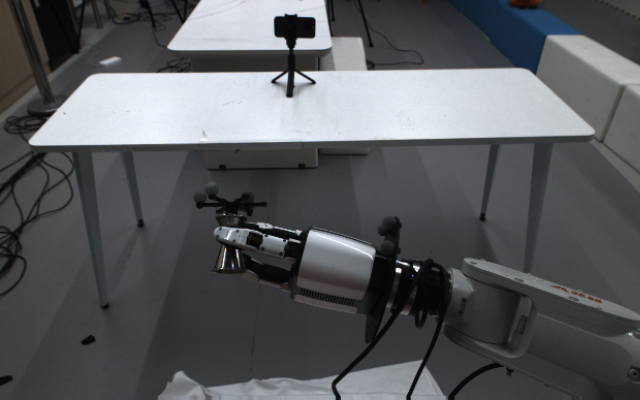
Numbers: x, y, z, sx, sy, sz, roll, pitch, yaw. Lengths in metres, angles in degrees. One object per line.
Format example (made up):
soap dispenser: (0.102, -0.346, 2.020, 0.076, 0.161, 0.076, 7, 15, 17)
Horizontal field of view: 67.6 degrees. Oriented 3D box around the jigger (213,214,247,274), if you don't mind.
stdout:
jigger: (-0.110, 0.054, 0.599, 0.043, 0.043, 0.071, 0, 75, -3)
